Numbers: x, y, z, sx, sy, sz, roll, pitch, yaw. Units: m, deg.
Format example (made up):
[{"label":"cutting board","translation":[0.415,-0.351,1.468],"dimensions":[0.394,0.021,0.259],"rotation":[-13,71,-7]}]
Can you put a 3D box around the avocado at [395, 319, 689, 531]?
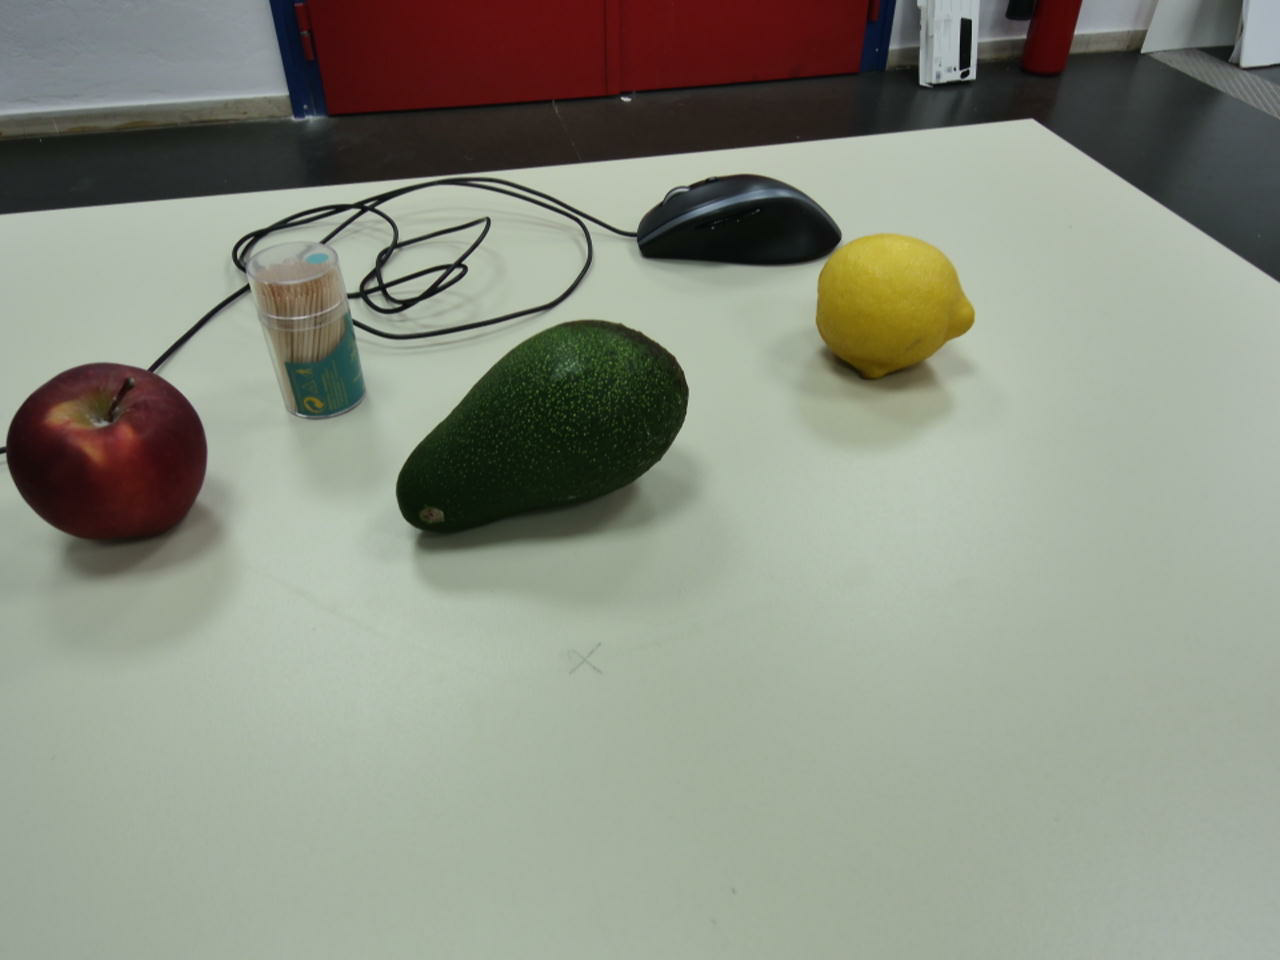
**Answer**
[{"label":"avocado","translation":[-0.041,-0.027,0.417],"dimensions":[0.123,0.076,0.074],"rotation":[-4,39,-6]}]
